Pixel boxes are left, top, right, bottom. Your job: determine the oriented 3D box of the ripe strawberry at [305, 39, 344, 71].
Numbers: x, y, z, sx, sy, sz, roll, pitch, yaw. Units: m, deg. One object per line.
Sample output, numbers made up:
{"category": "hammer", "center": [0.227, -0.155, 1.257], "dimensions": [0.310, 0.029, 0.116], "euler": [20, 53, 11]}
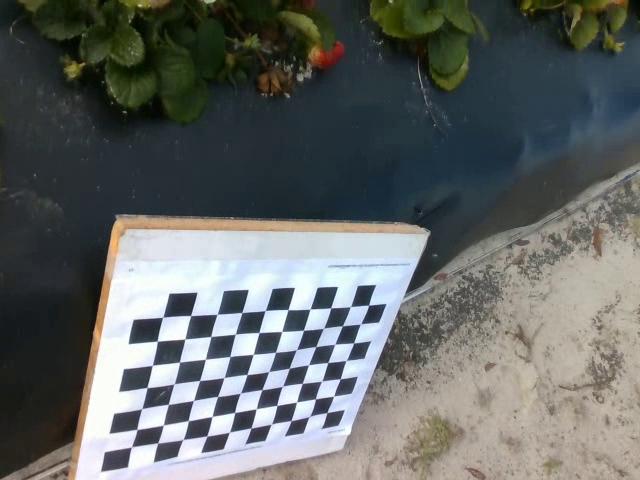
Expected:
{"category": "ripe strawberry", "center": [0.002, -0.117, 0.393], "dimensions": [0.027, 0.021, 0.022], "euler": [-16, -41, -11]}
